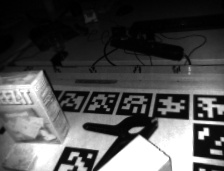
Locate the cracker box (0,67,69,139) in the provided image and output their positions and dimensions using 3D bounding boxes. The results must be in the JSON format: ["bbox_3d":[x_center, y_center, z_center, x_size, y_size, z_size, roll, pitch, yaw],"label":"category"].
[{"bbox_3d":[-0.235,0.057,0.585,0.163,0.215,0.072,-1,43,15],"label":"cracker box"}]

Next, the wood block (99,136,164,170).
[{"bbox_3d":[0.006,0.211,0.446,0.207,0.092,0.088,-35,42,-23],"label":"wood block"}]

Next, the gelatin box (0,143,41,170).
[{"bbox_3d":[-0.251,0.197,0.587,0.088,0.030,0.073,0,46,18],"label":"gelatin box"}]

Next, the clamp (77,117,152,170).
[{"bbox_3d":[0.013,0.124,0.574,0.203,0.037,0.163,-20,42,-4],"label":"clamp"}]
